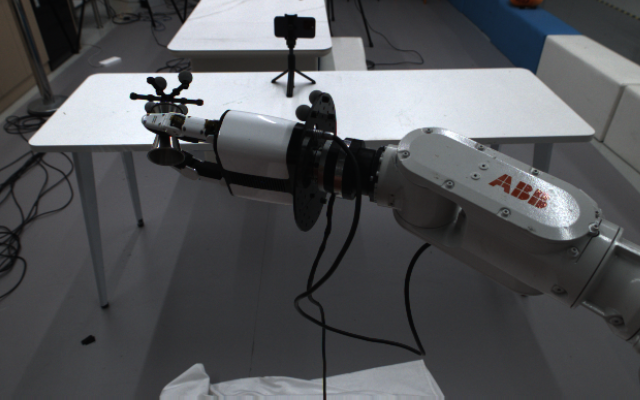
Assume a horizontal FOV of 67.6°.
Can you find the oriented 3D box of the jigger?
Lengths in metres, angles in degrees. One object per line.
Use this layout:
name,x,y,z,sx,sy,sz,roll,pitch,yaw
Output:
jigger,-0.190,-0.081,0.600,0.043,0.043,0.071,-4,67,-8
